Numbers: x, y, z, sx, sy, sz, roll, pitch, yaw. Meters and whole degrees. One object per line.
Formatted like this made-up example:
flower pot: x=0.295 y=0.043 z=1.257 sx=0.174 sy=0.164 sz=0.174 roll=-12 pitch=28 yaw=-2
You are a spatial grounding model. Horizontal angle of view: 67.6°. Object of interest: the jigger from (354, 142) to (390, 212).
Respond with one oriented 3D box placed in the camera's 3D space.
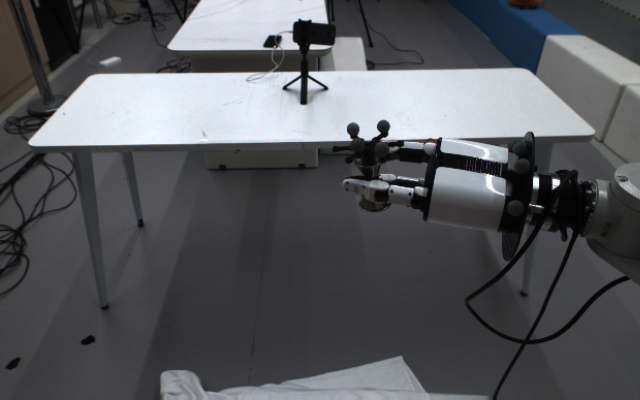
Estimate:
jigger: x=0.066 y=-0.028 z=0.636 sx=0.043 sy=0.071 sz=0.043 roll=-9 pitch=31 yaw=5
